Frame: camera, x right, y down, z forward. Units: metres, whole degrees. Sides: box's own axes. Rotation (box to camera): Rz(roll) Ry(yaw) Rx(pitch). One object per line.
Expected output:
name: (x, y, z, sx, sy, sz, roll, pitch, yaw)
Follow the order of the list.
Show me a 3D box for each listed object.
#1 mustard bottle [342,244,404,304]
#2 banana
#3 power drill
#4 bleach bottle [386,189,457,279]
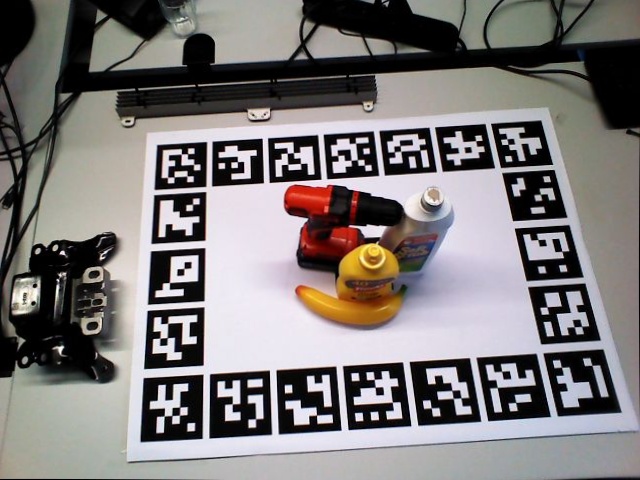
mustard bottle: (0.086, 0.051, 0.812, 0.096, 0.192, 0.058, -3, 69, -1)
banana: (0.068, 0.110, 0.882, 0.198, 0.039, 0.074, 1, 70, 3)
power drill: (0.042, -0.021, 0.818, 0.185, 0.187, 0.057, 9, 68, 2)
bleach bottle: (0.153, -0.016, 0.811, 0.103, 0.251, 0.067, -1, 63, 0)
